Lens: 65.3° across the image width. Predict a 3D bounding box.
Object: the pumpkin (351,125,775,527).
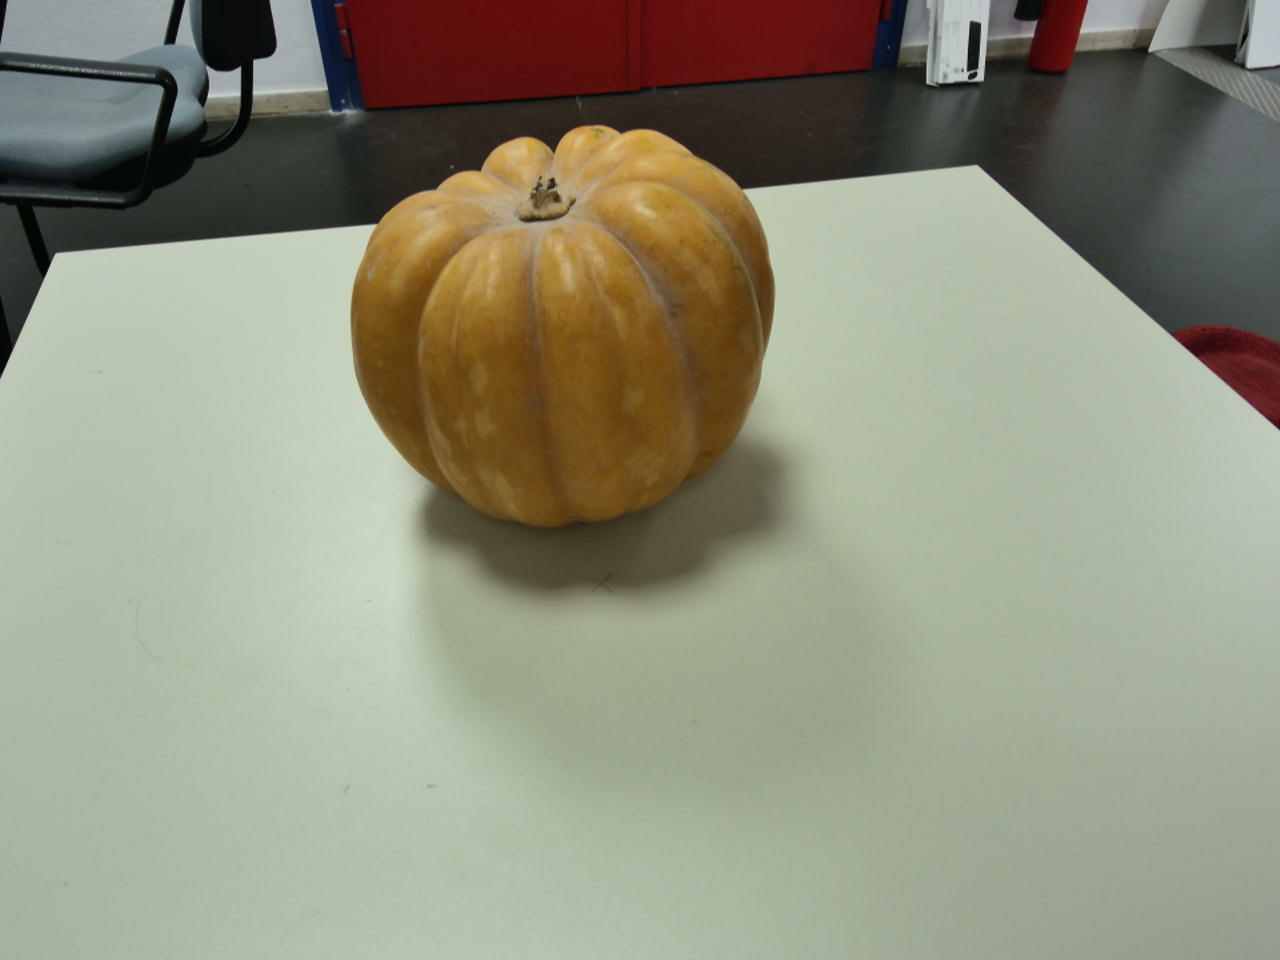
[{"bbox_3d":[-0.039,-0.082,0.547,0.230,0.194,0.230,0,39,0],"label":"pumpkin"}]
